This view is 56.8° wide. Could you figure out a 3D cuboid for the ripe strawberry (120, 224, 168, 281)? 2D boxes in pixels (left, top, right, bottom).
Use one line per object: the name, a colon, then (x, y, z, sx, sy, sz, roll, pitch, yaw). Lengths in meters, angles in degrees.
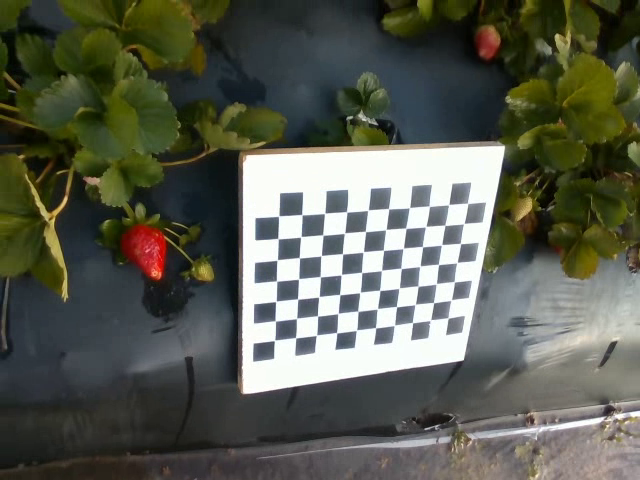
ripe strawberry: (-0.163, 0.016, 0.556, 0.043, 0.057, 0.052, -26, -31, -4)
